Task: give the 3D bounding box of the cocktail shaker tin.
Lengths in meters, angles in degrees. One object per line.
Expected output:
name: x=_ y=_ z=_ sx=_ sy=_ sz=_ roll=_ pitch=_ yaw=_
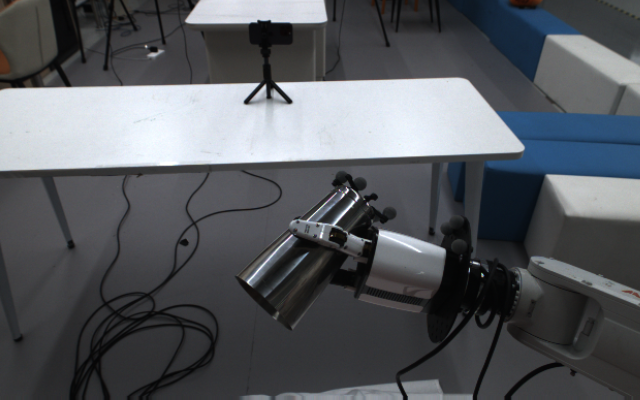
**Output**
cocktail shaker tin: x=-0.009 y=0.058 z=0.588 sx=0.093 sy=0.093 sz=0.170 roll=31 pitch=65 yaw=35
